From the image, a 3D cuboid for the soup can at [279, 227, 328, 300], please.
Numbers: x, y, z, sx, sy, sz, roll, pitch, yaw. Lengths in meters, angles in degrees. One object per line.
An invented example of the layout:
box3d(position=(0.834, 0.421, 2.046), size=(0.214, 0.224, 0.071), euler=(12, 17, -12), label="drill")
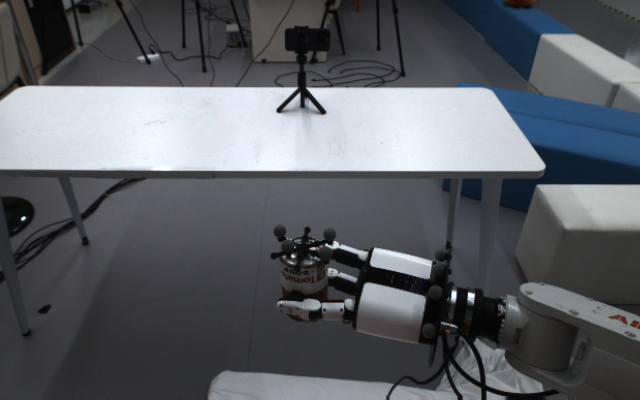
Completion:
box3d(position=(-0.019, 0.109, 0.676), size=(0.067, 0.101, 0.067), euler=(-2, 34, 1), label="soup can")
